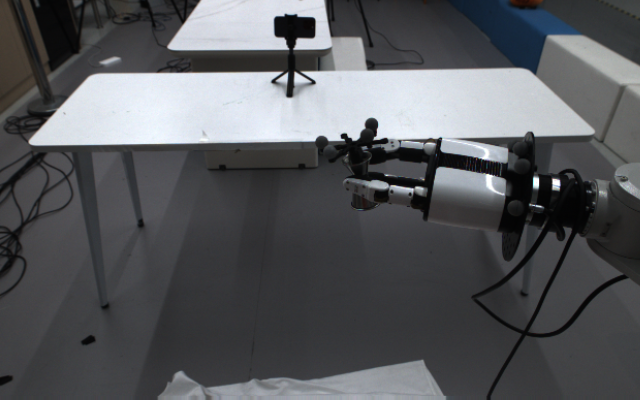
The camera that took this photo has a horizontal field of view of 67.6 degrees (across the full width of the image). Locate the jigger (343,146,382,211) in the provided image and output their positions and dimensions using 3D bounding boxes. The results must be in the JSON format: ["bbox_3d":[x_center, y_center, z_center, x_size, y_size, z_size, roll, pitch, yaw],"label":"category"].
[{"bbox_3d":[0.055,-0.026,0.637,0.043,0.071,0.043,-12,29,7],"label":"jigger"}]
